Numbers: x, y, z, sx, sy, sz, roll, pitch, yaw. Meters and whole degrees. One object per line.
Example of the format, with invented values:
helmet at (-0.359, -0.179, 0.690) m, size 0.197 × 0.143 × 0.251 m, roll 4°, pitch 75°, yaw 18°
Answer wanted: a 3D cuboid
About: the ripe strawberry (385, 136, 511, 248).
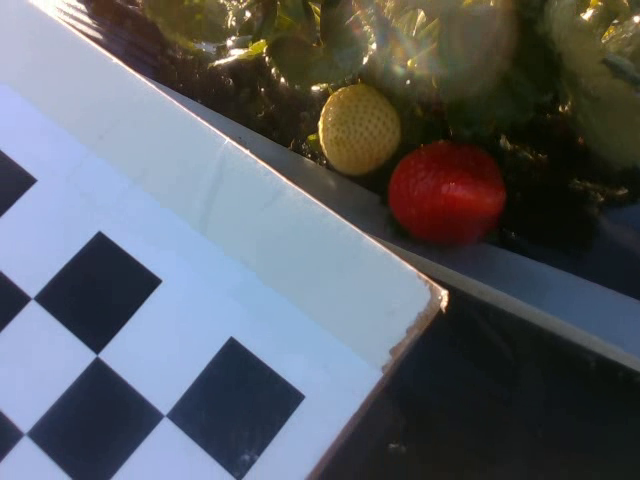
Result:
ripe strawberry at (0.047, -0.017, 0.216) m, size 0.045 × 0.049 × 0.064 m, roll -29°, pitch 8°, yaw -2°
